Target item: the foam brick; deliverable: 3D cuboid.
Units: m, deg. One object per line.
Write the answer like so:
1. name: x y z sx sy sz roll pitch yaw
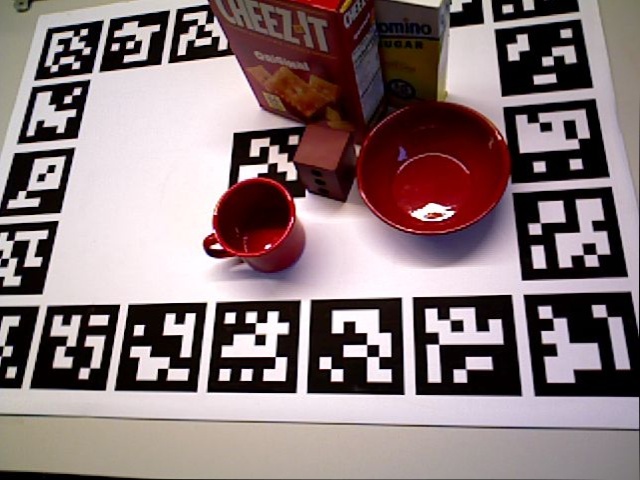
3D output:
1. foam brick: 0.004 -0.086 0.615 0.053 0.079 0.051 12 70 17

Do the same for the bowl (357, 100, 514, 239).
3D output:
1. bowl: 0.122 -0.065 0.574 0.162 0.055 0.160 -5 69 11

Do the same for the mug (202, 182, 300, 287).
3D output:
1. mug: -0.081 0.001 0.589 0.117 0.082 0.092 -12 58 10

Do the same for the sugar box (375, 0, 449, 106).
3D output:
1. sugar box: 0.090 -0.217 0.586 0.093 0.178 0.045 18 72 19

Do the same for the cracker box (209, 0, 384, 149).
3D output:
1. cracker box: -0.022 -0.206 0.589 0.164 0.216 0.071 26 72 20
